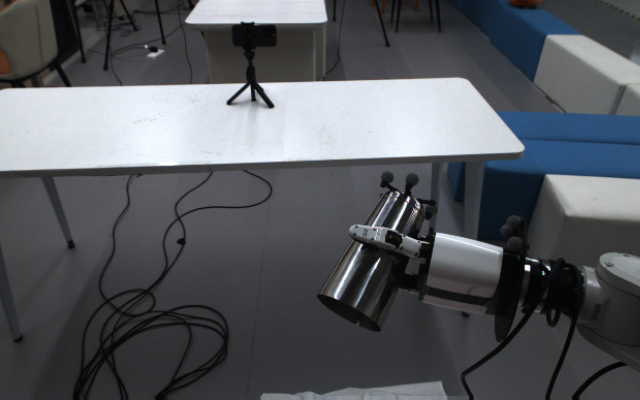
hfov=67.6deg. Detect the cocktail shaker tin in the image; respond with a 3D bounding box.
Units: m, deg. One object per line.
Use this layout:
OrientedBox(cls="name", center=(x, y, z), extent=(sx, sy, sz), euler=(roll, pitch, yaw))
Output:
OrientedBox(cls="cocktail shaker tin", center=(0.079, 0.071, 0.636), extent=(0.093, 0.093, 0.170), euler=(19, 66, 23))
